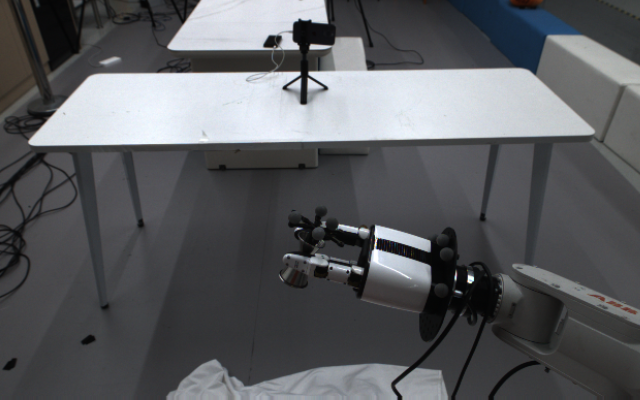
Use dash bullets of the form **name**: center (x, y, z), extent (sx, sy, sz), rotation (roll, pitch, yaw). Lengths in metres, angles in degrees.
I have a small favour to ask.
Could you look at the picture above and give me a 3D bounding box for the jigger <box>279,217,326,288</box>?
- **jigger**: center (-0.025, 0.081, 0.664), extent (0.043, 0.071, 0.043), rotation (23, 19, -8)
